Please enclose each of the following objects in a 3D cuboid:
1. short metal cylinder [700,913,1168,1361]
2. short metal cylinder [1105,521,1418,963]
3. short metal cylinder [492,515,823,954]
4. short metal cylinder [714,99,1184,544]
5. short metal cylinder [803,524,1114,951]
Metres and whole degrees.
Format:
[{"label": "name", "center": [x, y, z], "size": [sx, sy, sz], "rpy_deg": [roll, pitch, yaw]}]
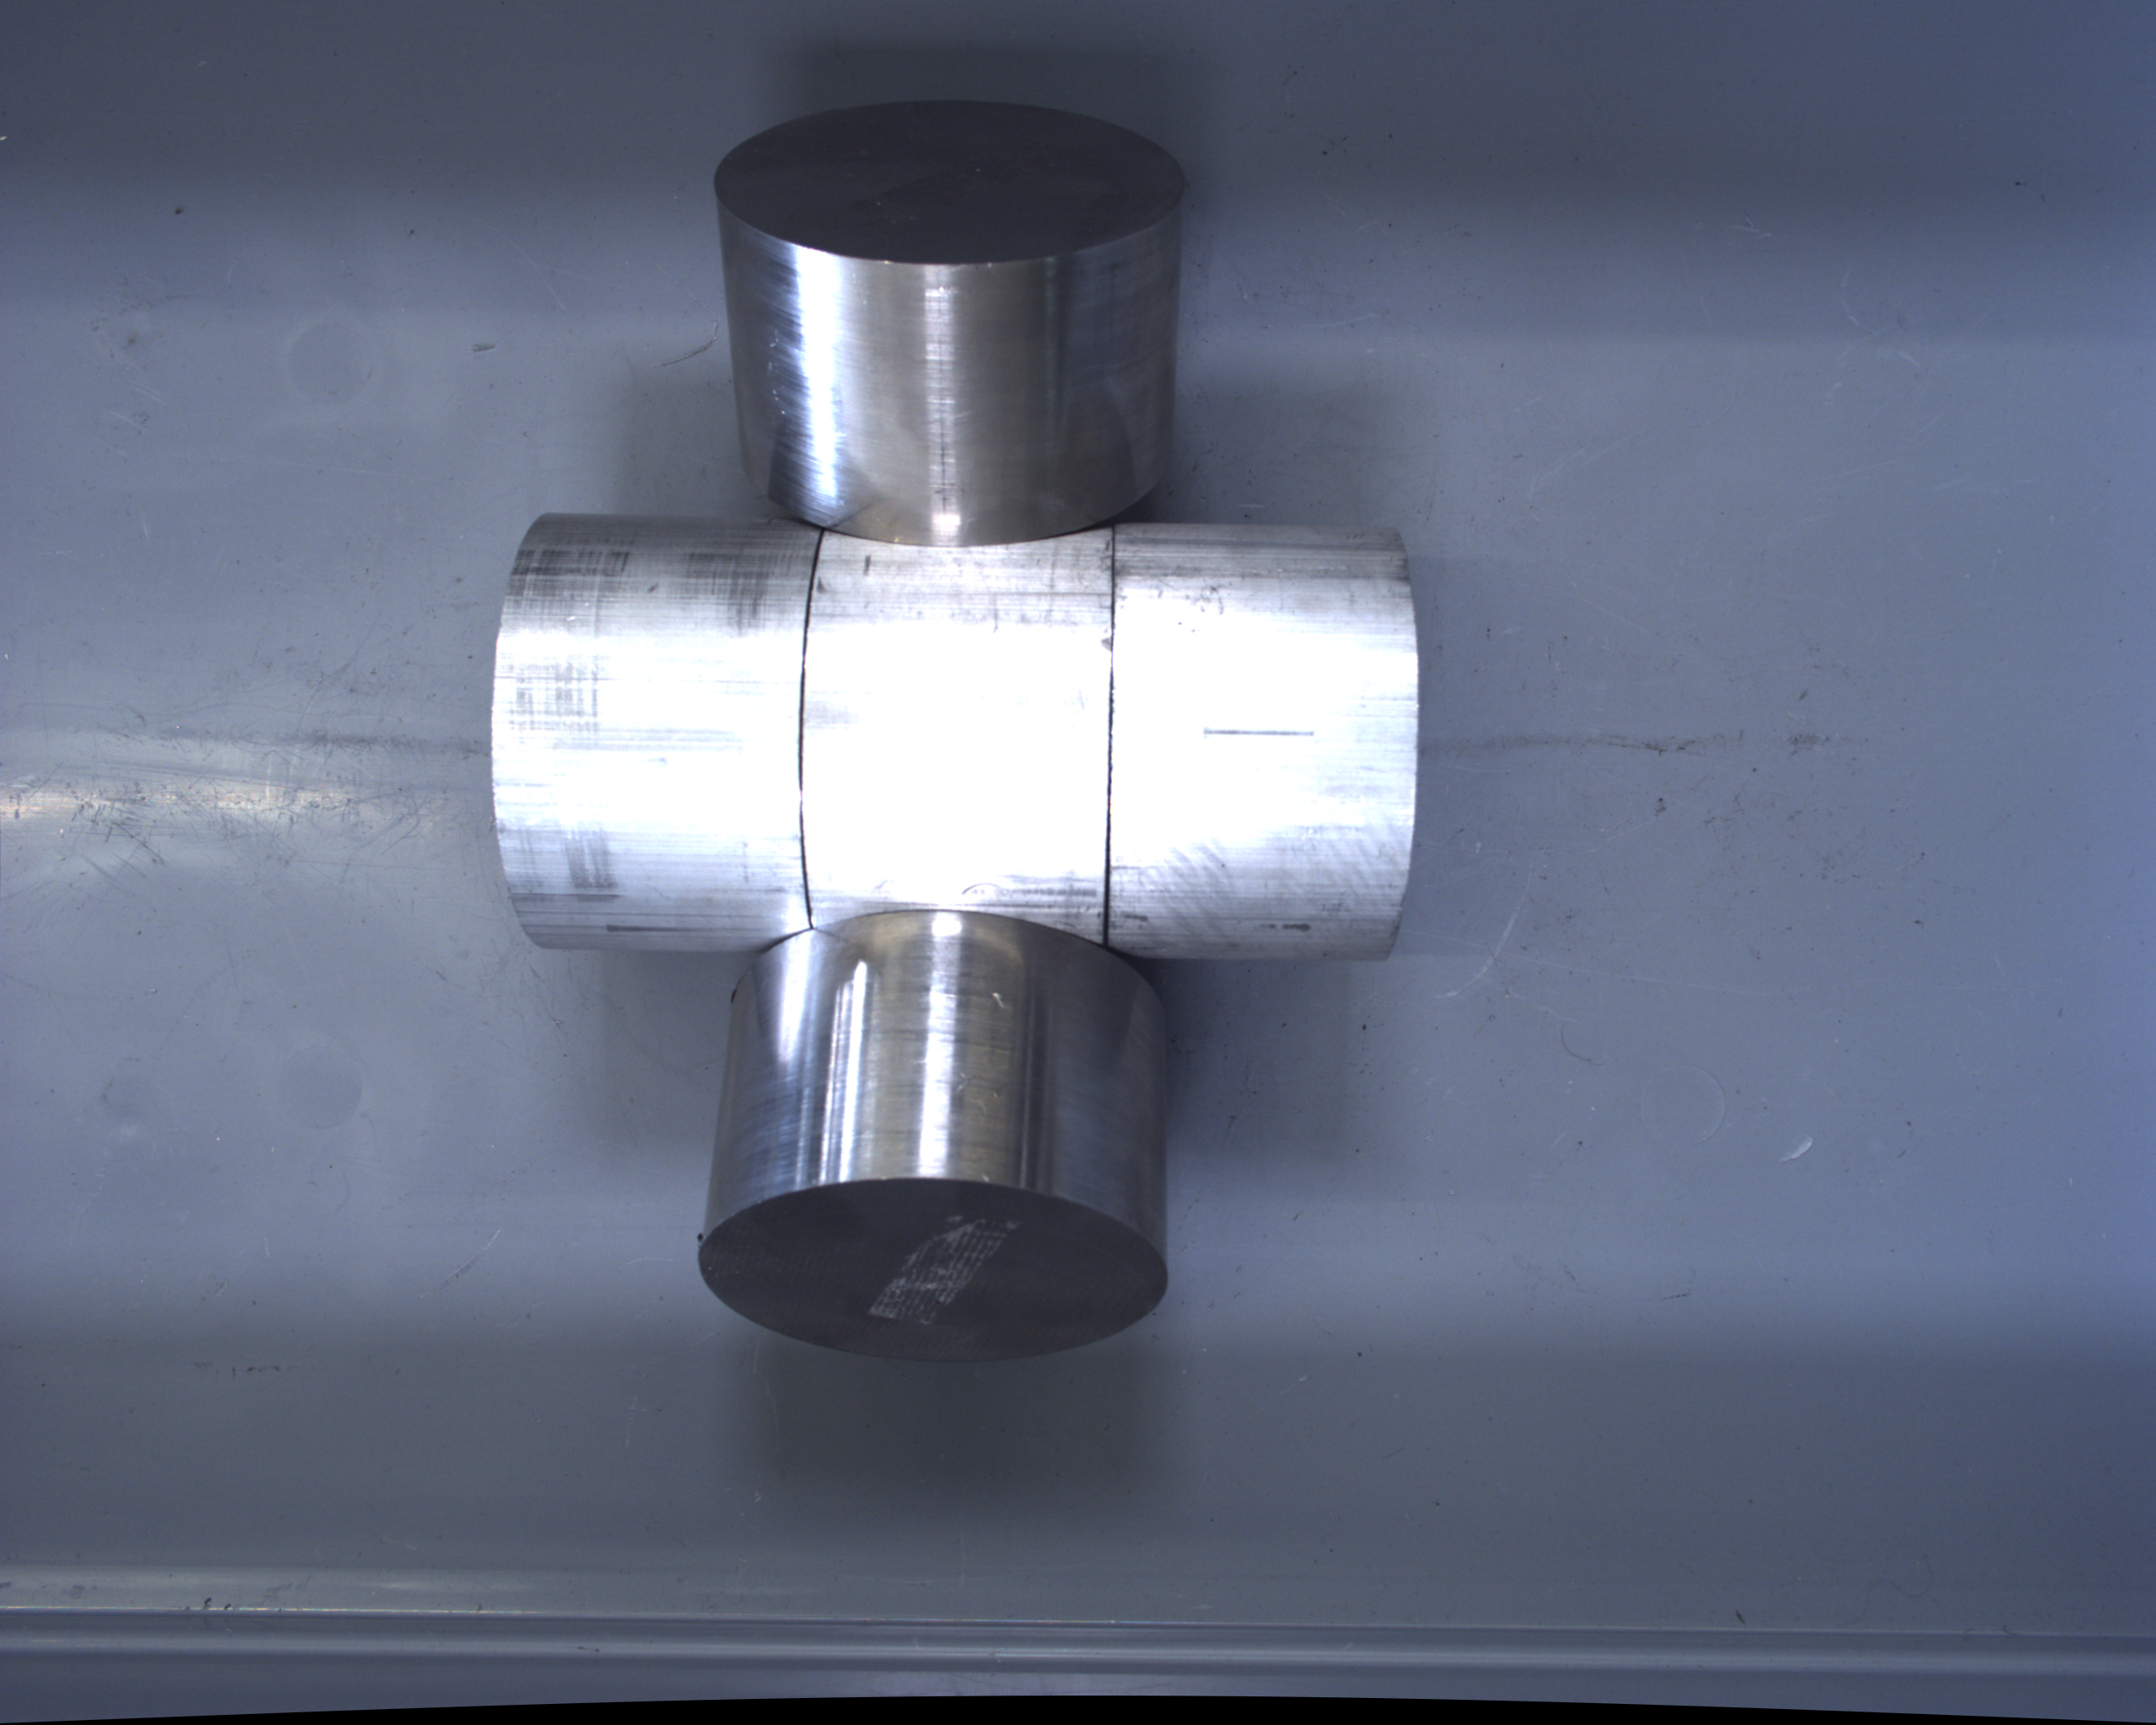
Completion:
[{"label": "short metal cylinder", "center": [-0.025, 0.051, 0.375], "size": [0.081, 0.080, 0.050], "rpy_deg": [0, 56, 0]}, {"label": "short metal cylinder", "center": [0.031, -0.022, 0.383], "size": [0.050, 0.080, 0.080], "rpy_deg": [1, 90, 0]}, {"label": "short metal cylinder", "center": [-0.071, -0.023, 0.382], "size": [0.050, 0.080, 0.080], "rpy_deg": [1, 90, 0]}, {"label": "short metal cylinder", "center": [-0.023, -0.099, 0.375], "size": [0.081, 0.080, 0.050], "rpy_deg": [2, 128, 0]}, {"label": "short metal cylinder", "center": [-0.020, -0.023, 0.382], "size": [0.050, 0.080, 0.080], "rpy_deg": [1, 90, 0]}]
